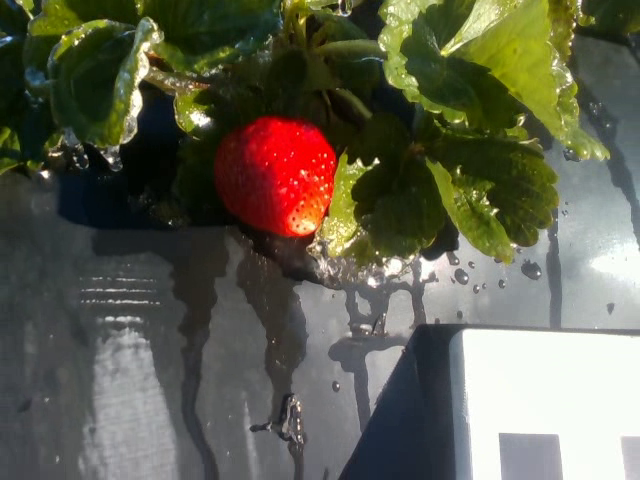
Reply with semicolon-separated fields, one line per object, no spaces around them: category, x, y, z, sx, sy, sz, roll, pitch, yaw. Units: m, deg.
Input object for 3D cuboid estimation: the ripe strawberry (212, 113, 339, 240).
ripe strawberry;-0.011;-0.016;0.171;0.041;0.047;0.053;-3;33;-5
